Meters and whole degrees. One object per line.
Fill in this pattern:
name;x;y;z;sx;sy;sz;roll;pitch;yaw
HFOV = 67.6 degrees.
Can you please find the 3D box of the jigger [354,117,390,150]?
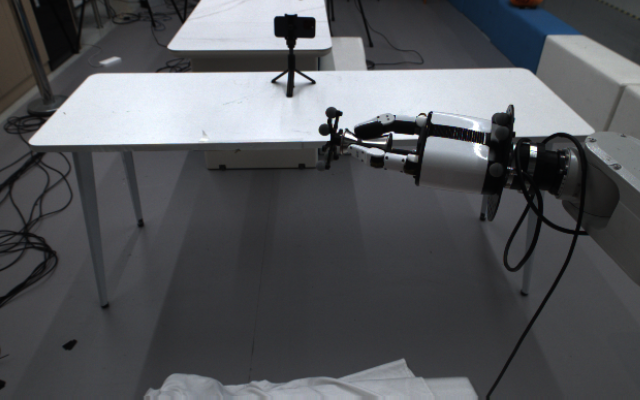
jigger;0.073;-0.083;0.703;0.071;0.043;0.043;11;36;15
